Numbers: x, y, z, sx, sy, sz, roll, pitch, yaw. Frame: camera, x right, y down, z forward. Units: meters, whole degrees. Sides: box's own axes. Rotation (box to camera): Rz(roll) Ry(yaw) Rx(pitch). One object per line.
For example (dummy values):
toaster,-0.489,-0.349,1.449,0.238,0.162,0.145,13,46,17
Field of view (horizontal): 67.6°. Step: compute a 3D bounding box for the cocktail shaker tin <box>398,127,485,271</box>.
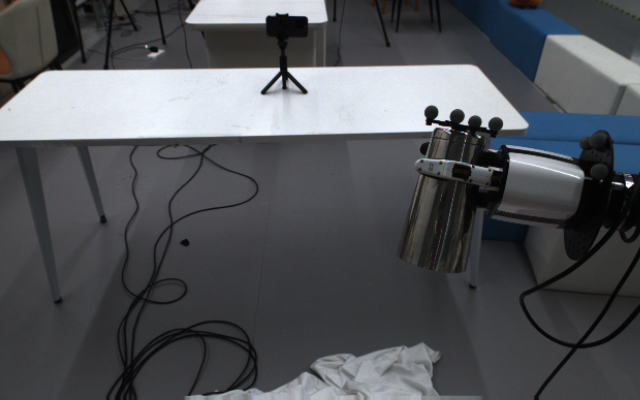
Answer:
cocktail shaker tin,0.165,-0.005,0.626,0.093,0.170,0.093,10,9,-2
